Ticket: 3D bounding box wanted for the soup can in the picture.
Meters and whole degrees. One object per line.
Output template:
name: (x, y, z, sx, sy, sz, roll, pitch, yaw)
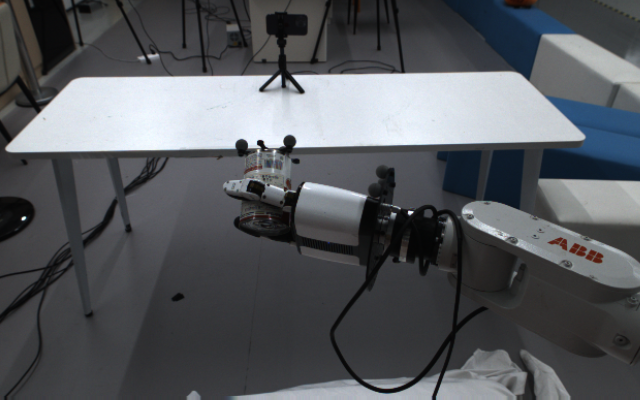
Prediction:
soup can: (-0.071, -0.009, 0.652, 0.067, 0.067, 0.101, 1, 68, -1)
